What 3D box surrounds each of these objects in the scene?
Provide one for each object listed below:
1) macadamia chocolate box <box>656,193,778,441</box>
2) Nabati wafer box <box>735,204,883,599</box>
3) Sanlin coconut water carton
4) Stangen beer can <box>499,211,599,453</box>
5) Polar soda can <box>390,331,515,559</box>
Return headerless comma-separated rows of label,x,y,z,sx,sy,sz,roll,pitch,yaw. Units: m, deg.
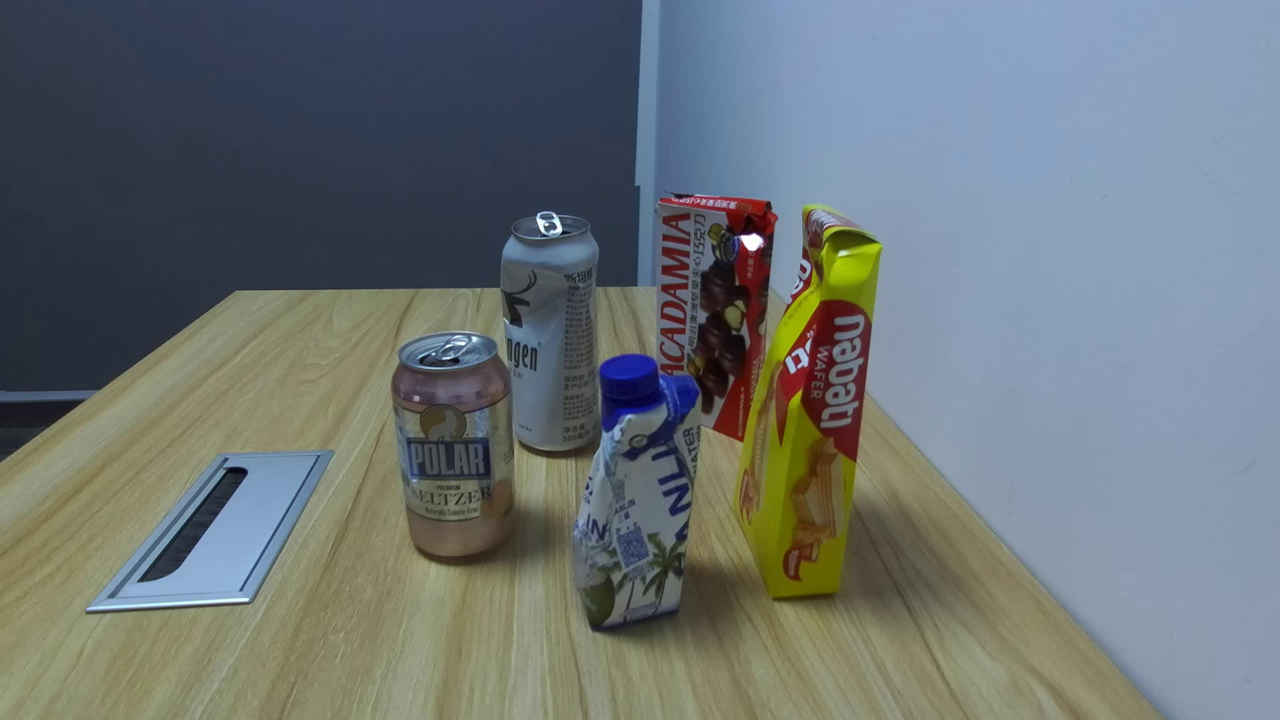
macadamia chocolate box,0.057,-0.034,0.546,0.102,0.187,0.027,20,32,37
Nabati wafer box,0.092,0.022,0.395,0.042,0.205,0.113,1,22,-5
Sanlin coconut water carton,0.004,0.068,0.366,0.069,0.144,0.056,1,29,-21
Stangen beer can,-0.063,-0.016,0.518,0.070,0.173,0.070,-3,20,-11
Polar soda can,-0.109,0.051,0.422,0.067,0.125,0.067,2,22,0
